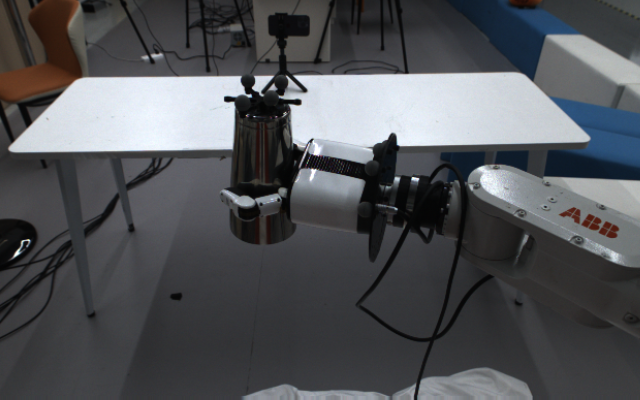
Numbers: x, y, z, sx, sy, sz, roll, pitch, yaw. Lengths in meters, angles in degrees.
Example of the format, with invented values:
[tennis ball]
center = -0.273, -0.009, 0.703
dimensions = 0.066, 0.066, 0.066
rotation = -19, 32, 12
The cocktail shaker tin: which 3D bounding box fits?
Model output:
[cocktail shaker tin]
center = -0.070, -0.038, 0.613
dimensions = 0.093, 0.170, 0.093
rotation = 3, 34, -2
